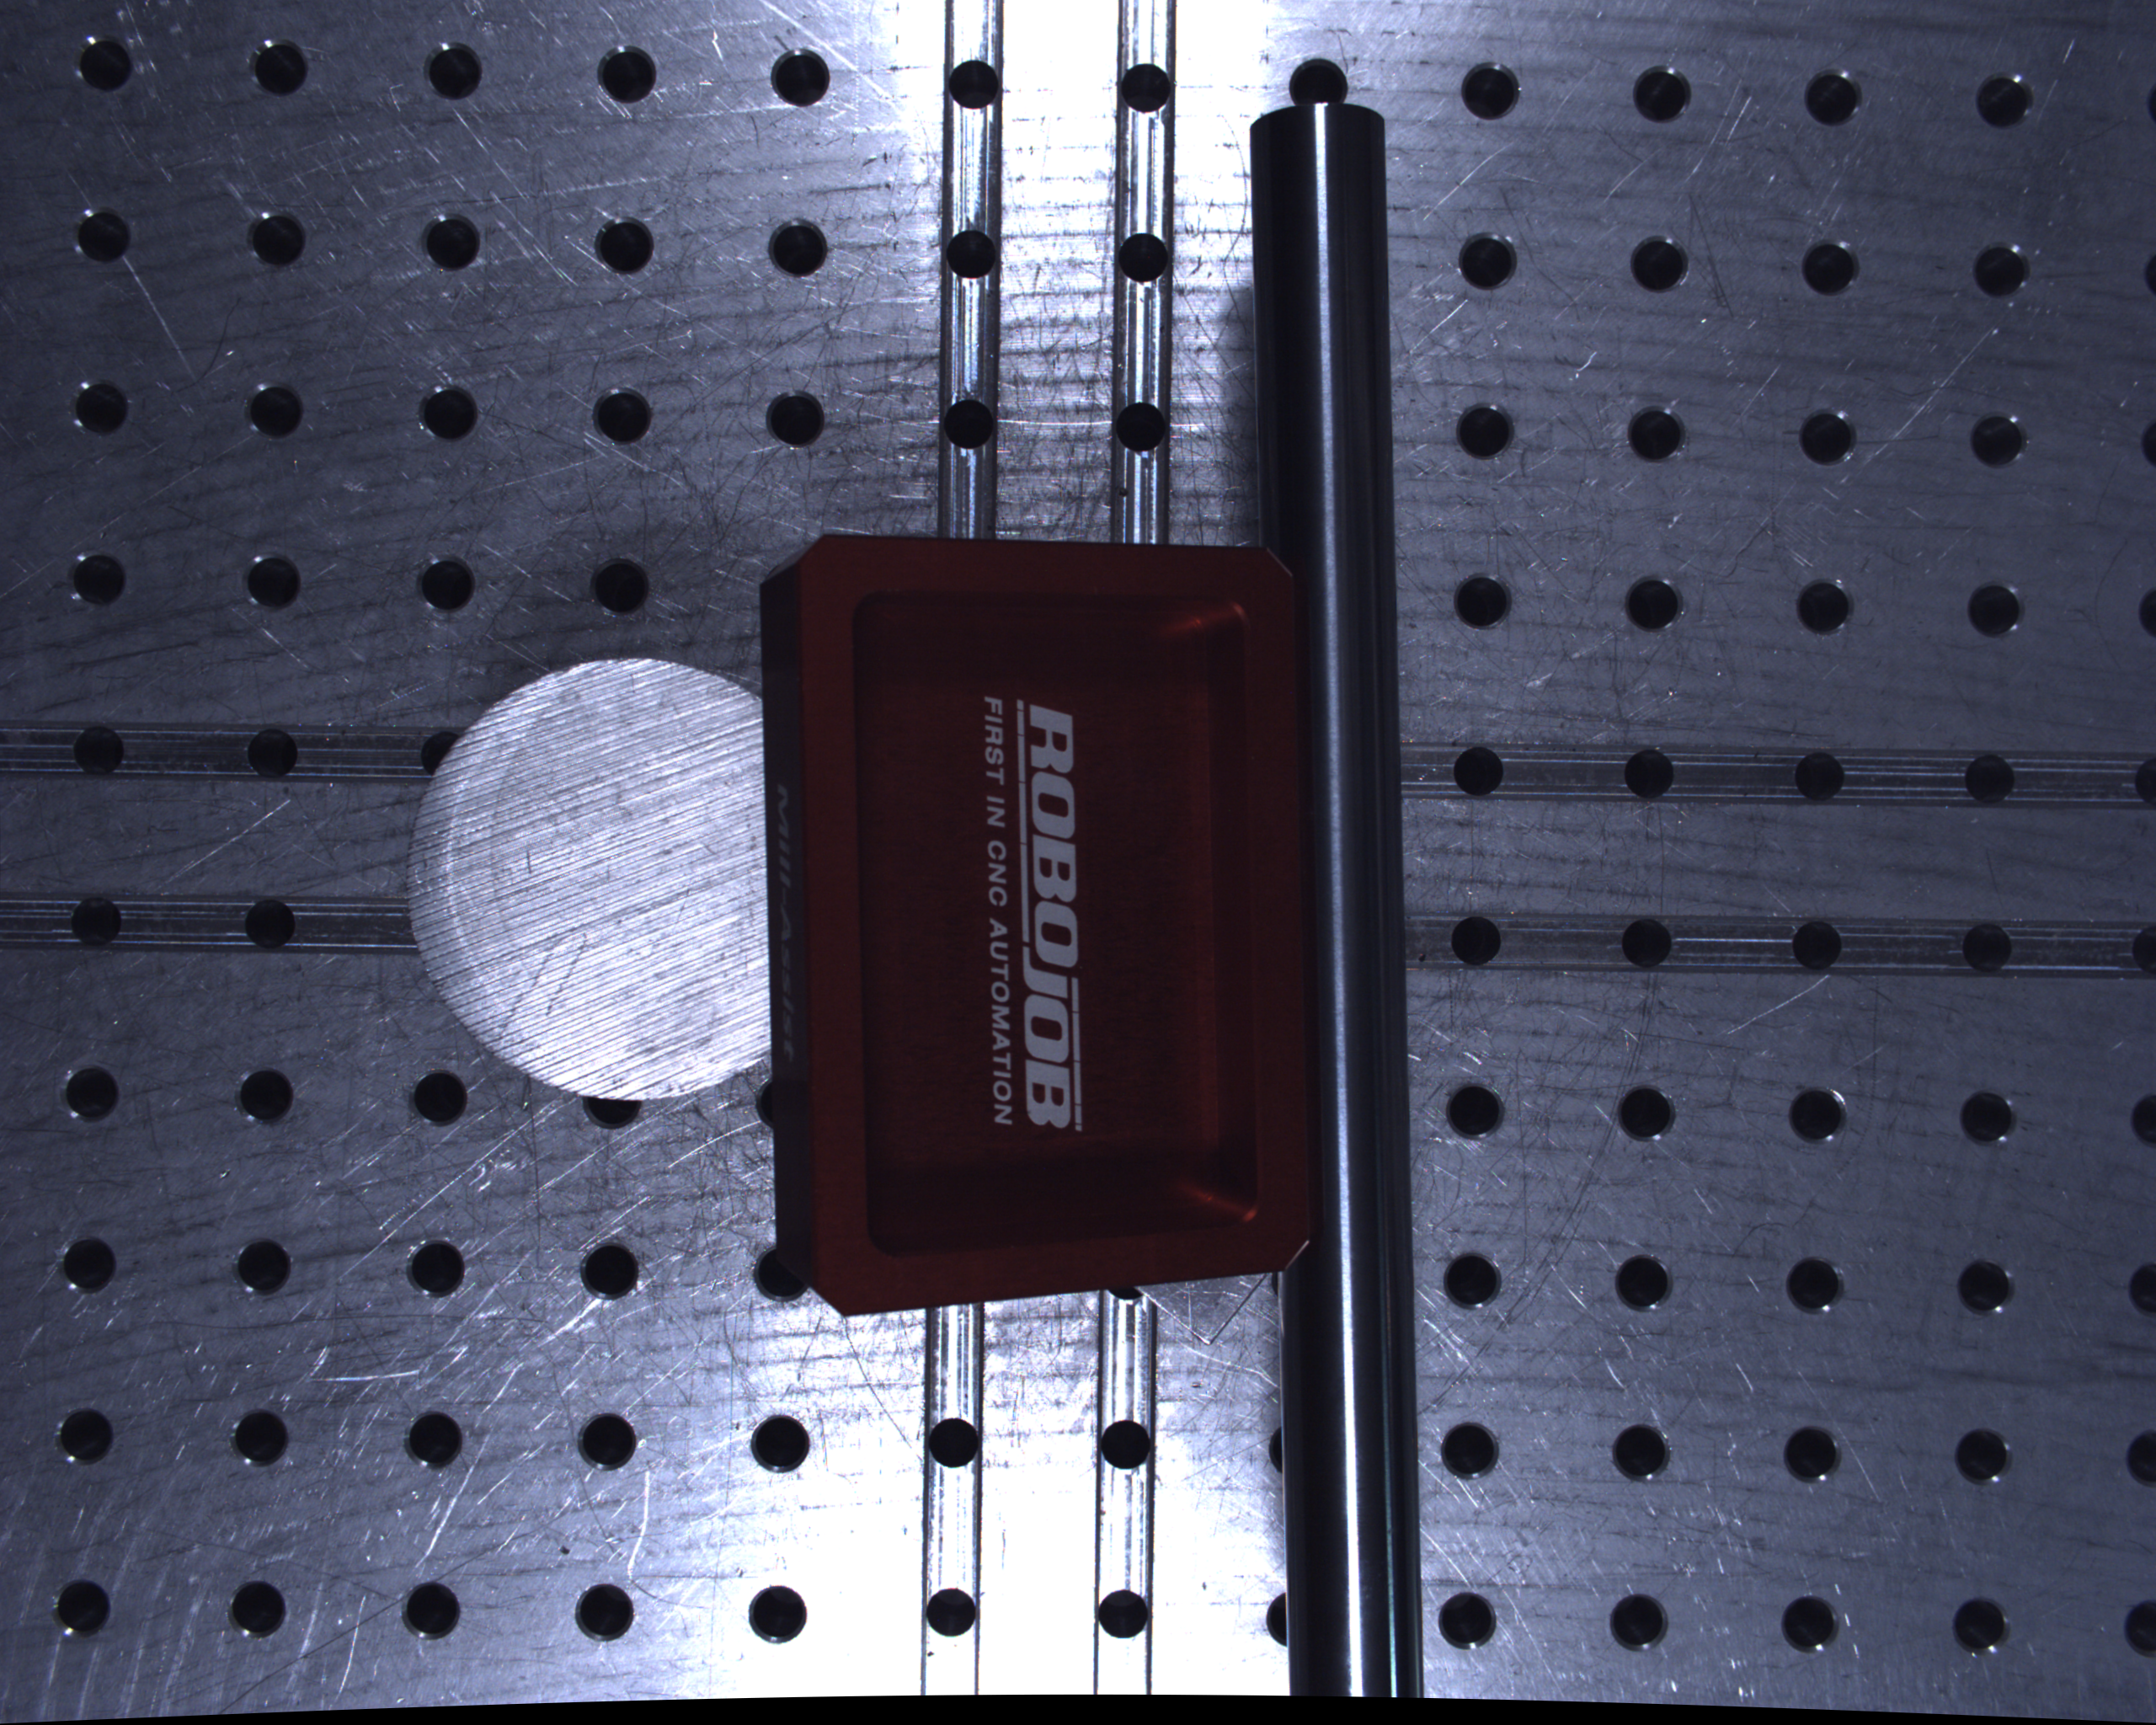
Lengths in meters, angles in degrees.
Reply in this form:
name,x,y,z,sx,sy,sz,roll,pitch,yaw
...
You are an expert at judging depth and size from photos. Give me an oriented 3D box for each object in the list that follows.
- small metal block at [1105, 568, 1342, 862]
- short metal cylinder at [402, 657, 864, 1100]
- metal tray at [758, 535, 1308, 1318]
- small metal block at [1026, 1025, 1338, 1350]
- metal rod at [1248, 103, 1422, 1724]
name,x,y,z,sx,sy,sz,roll,pitch,yaw
small metal block,0.031,-0.029,0.414,0.050,0.025,0.050,-15,90,-1
short metal cylinder,-0.081,0.003,0.399,0.081,0.050,0.079,0,90,-1
metal tray,-0.008,0.010,0.371,0.091,0.030,0.129,-2,90,-20
small metal block,0.021,0.059,0.413,0.050,0.025,0.050,39,90,-1
metal rod,0.048,0.012,0.389,0.025,0.025,0.298,-1,90,-1
